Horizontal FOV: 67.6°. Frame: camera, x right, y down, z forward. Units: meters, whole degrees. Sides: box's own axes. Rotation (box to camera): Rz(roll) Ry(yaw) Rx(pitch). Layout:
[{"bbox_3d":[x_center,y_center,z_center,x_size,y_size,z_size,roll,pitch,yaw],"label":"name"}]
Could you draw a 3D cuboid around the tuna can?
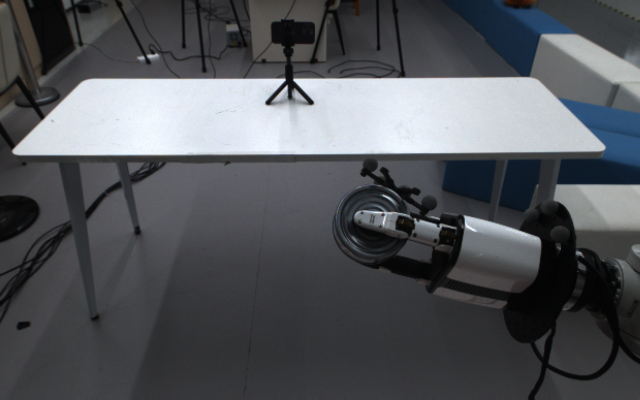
[{"bbox_3d":[0.062,0.033,0.537,0.085,0.034,0.085,0,74,0],"label":"tuna can"}]
